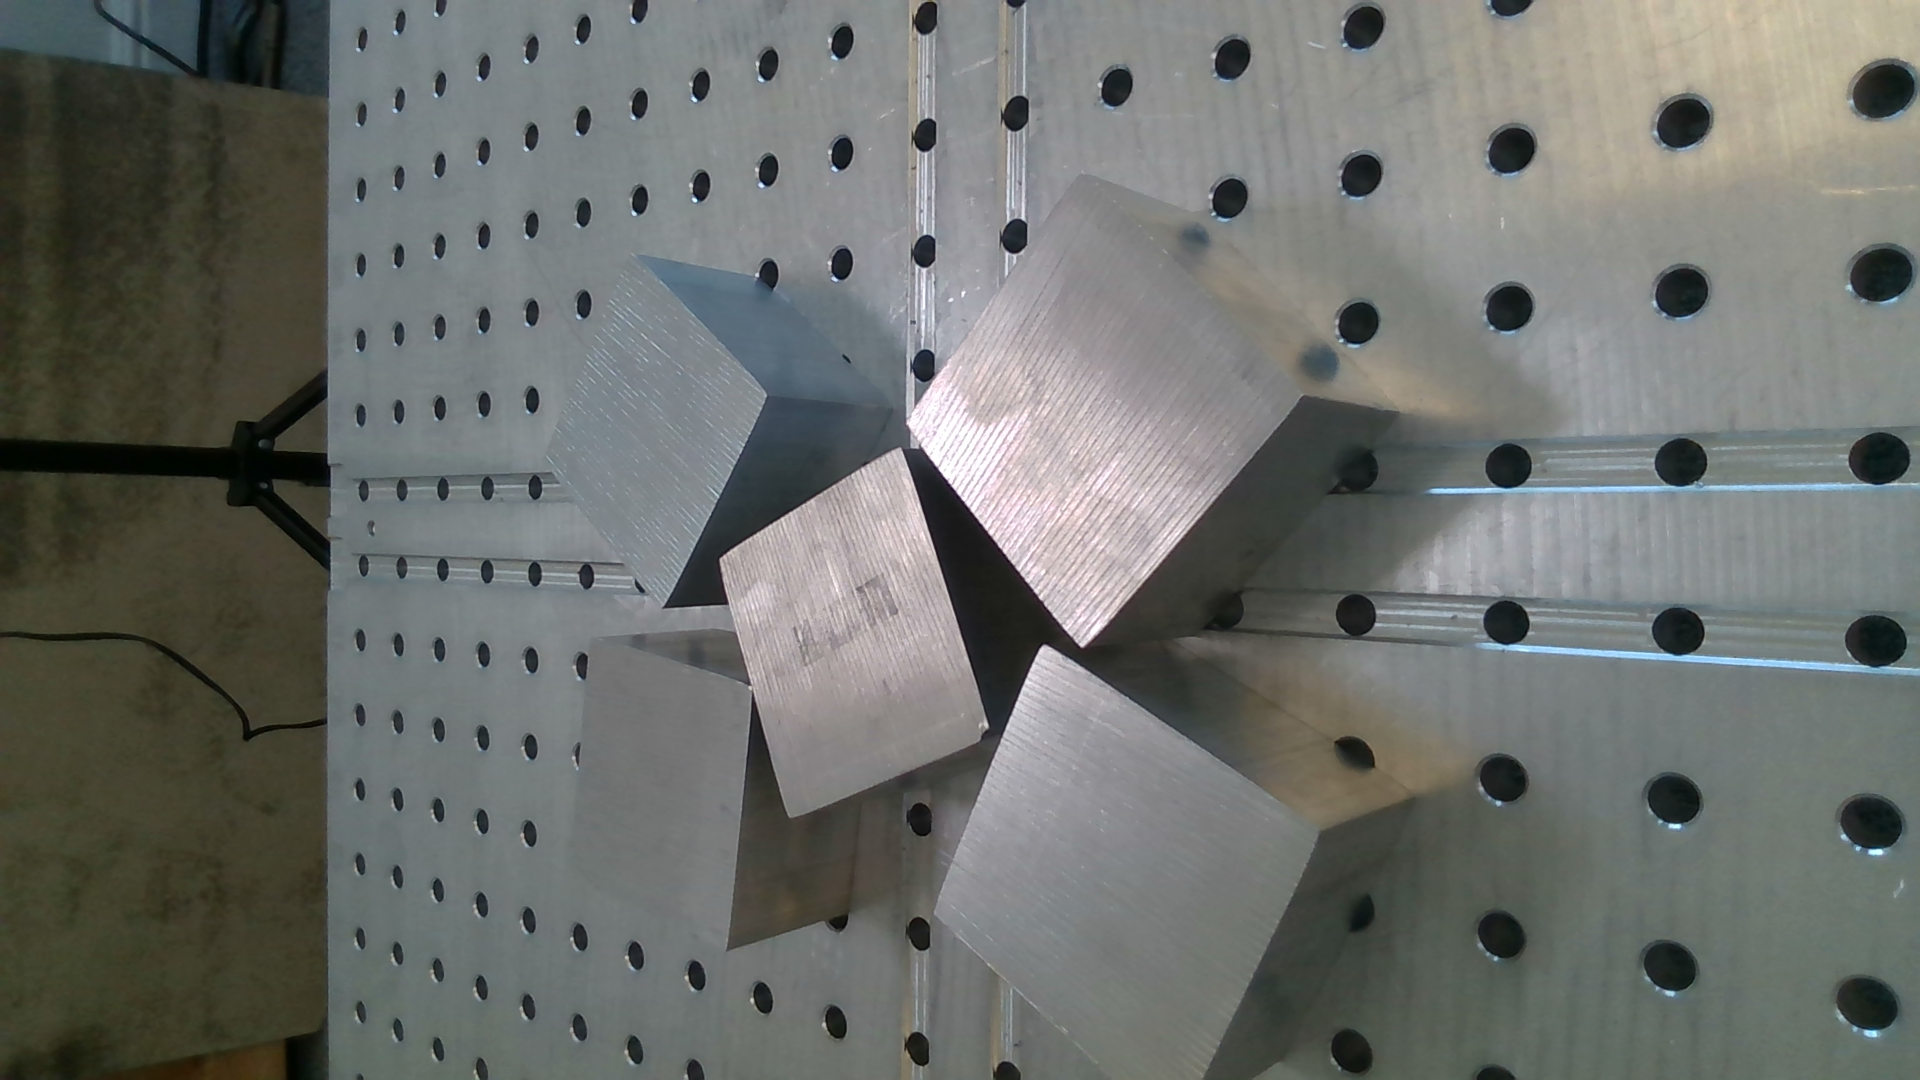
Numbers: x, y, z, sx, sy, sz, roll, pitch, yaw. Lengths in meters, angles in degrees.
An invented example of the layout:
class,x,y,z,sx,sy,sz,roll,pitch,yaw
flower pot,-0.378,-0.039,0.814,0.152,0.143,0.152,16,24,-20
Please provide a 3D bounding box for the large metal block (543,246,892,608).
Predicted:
class,x,y,z,sx,sy,sz,roll,pitch,yaw
large metal block,-0.080,-0.035,0.442,0.080,0.050,0.080,45,117,30

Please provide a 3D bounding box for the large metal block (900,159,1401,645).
class,x,y,z,sx,sy,sz,roll,pitch,yaw
large metal block,0.044,-0.032,0.340,0.080,0.050,0.080,-52,59,27

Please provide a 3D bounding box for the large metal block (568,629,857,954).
class,x,y,z,sx,sy,sz,roll,pitch,yaw
large metal block,-0.079,0.076,0.444,0.080,0.050,0.080,12,98,39

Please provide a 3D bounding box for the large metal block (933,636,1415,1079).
class,x,y,z,sx,sy,sz,roll,pitch,yaw
large metal block,0.049,0.076,0.335,0.080,0.050,0.080,32,113,35

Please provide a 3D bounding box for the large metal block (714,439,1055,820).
class,x,y,z,sx,sy,sz,roll,pitch,yaw
large metal block,-0.016,0.026,0.390,0.080,0.050,0.080,-29,72,37
